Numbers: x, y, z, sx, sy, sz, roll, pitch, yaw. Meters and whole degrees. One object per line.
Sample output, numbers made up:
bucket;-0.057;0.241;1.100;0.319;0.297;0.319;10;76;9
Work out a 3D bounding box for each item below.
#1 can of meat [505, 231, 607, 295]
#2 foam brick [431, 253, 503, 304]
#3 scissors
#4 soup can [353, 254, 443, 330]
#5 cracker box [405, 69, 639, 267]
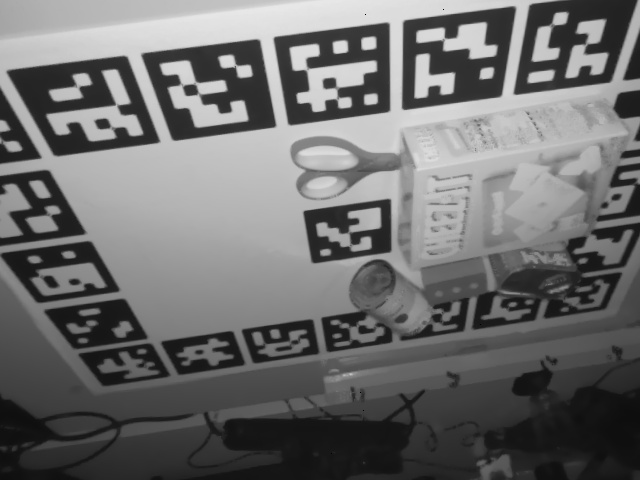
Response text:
can of meat;0.271;0.015;0.817;0.102;0.084;0.057;2;136;-10
foam brick;0.178;0.036;0.852;0.078;0.051;0.052;-15;136;7
scissors;0.084;-0.096;0.703;0.203;0.016;0.087;-12;137;2
soup can;0.099;0.067;0.870;0.067;0.068;0.103;-36;136;26
cracker box;0.205;-0.066;0.709;0.214;0.072;0.163;-15;138;0
